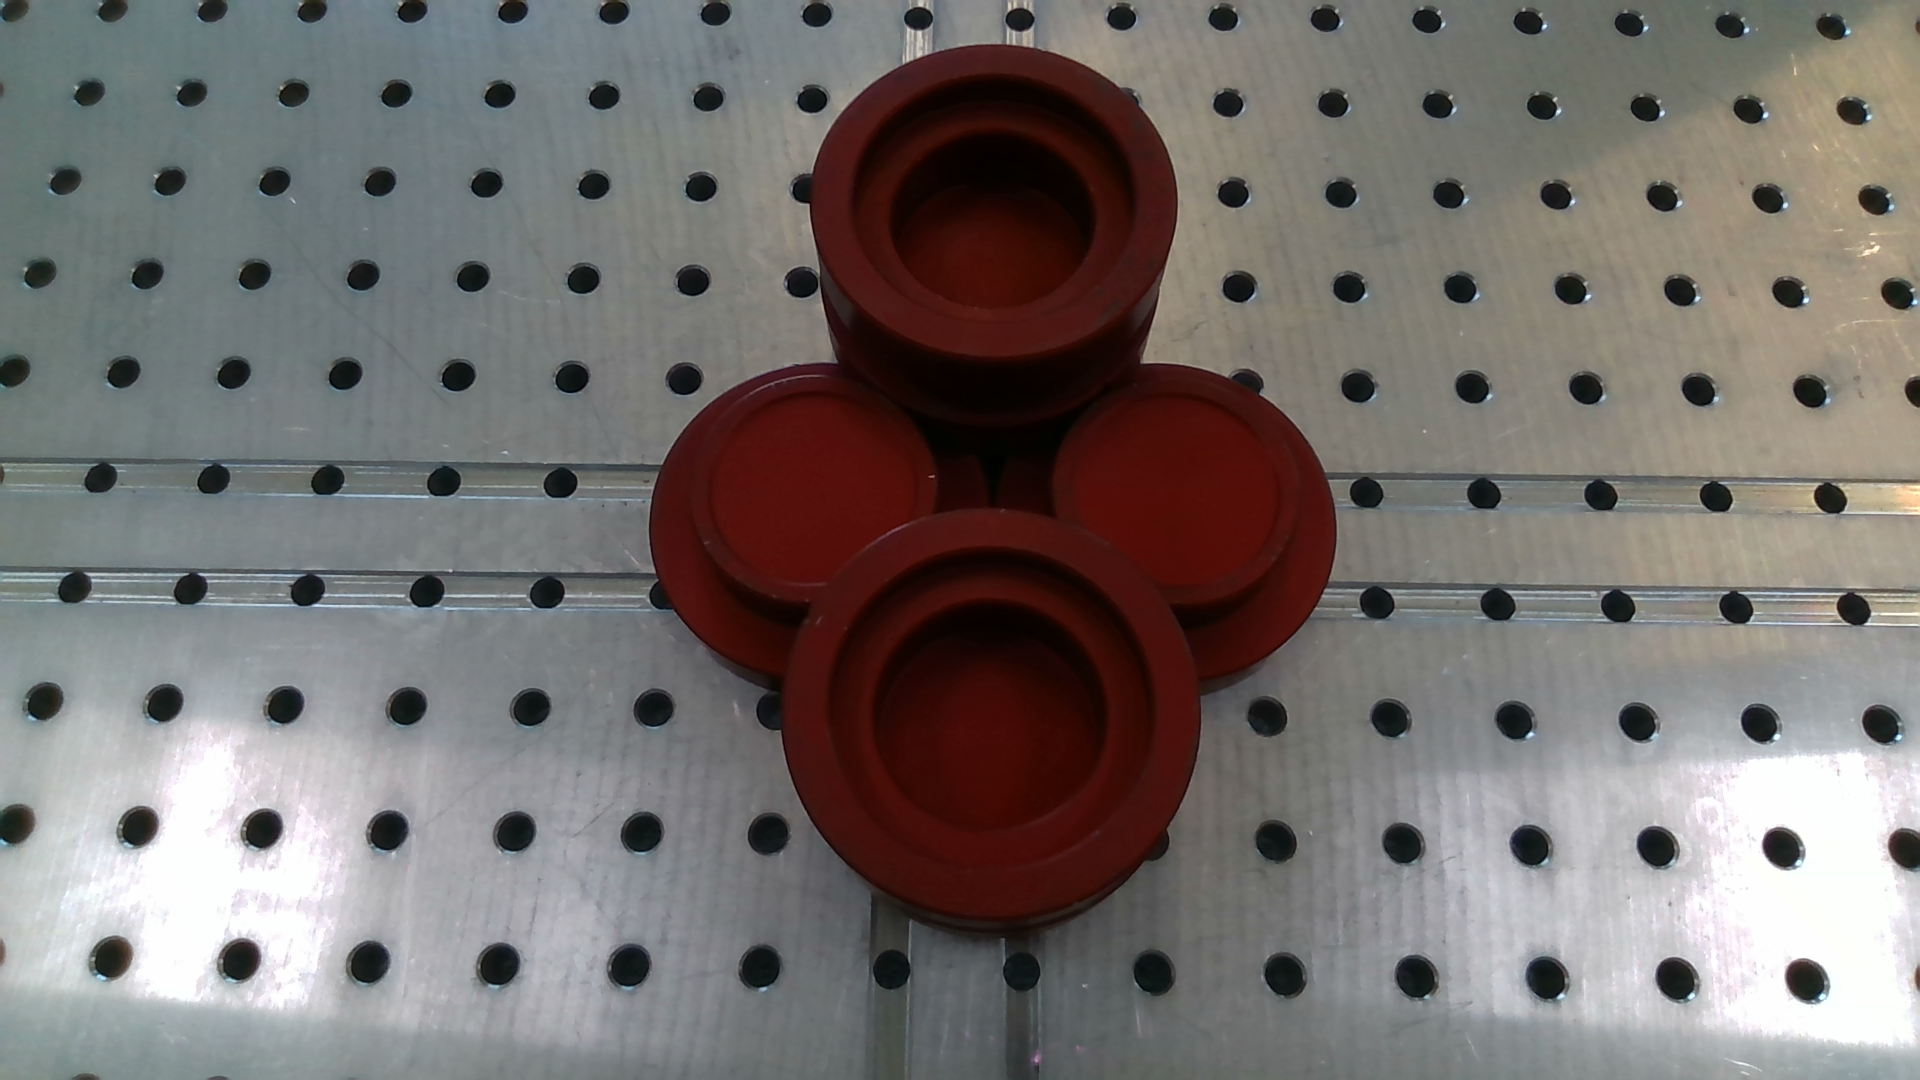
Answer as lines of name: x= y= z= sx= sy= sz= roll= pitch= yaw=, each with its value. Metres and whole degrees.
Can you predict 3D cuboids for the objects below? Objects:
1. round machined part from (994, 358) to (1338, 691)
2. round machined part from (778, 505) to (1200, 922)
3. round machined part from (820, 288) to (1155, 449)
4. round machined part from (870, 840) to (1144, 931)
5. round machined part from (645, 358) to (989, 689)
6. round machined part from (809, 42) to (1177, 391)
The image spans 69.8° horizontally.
round machined part: x=0.058 y=-0.008 z=0.391 sx=0.098 sy=0.042 sz=0.098 roll=0 pitch=70 yaw=0
round machined part: x=0.007 y=0.044 z=0.339 sx=0.098 sy=0.042 sz=0.098 roll=0 pitch=70 yaw=0
round machined part: x=0.008 y=-0.072 z=0.414 sx=0.098 sy=0.042 sz=0.098 roll=0 pitch=70 yaw=0
round machined part: x=0.008 y=0.055 z=0.369 sx=0.098 sy=0.042 sz=0.098 roll=0 pitch=70 yaw=0
round machined part: x=-0.041 y=-0.008 z=0.391 sx=0.098 sy=0.042 sz=0.098 roll=0 pitch=70 yaw=0
round machined part: x=0.009 y=-0.085 z=0.385 sx=0.098 sy=0.042 sz=0.098 roll=0 pitch=70 yaw=0
